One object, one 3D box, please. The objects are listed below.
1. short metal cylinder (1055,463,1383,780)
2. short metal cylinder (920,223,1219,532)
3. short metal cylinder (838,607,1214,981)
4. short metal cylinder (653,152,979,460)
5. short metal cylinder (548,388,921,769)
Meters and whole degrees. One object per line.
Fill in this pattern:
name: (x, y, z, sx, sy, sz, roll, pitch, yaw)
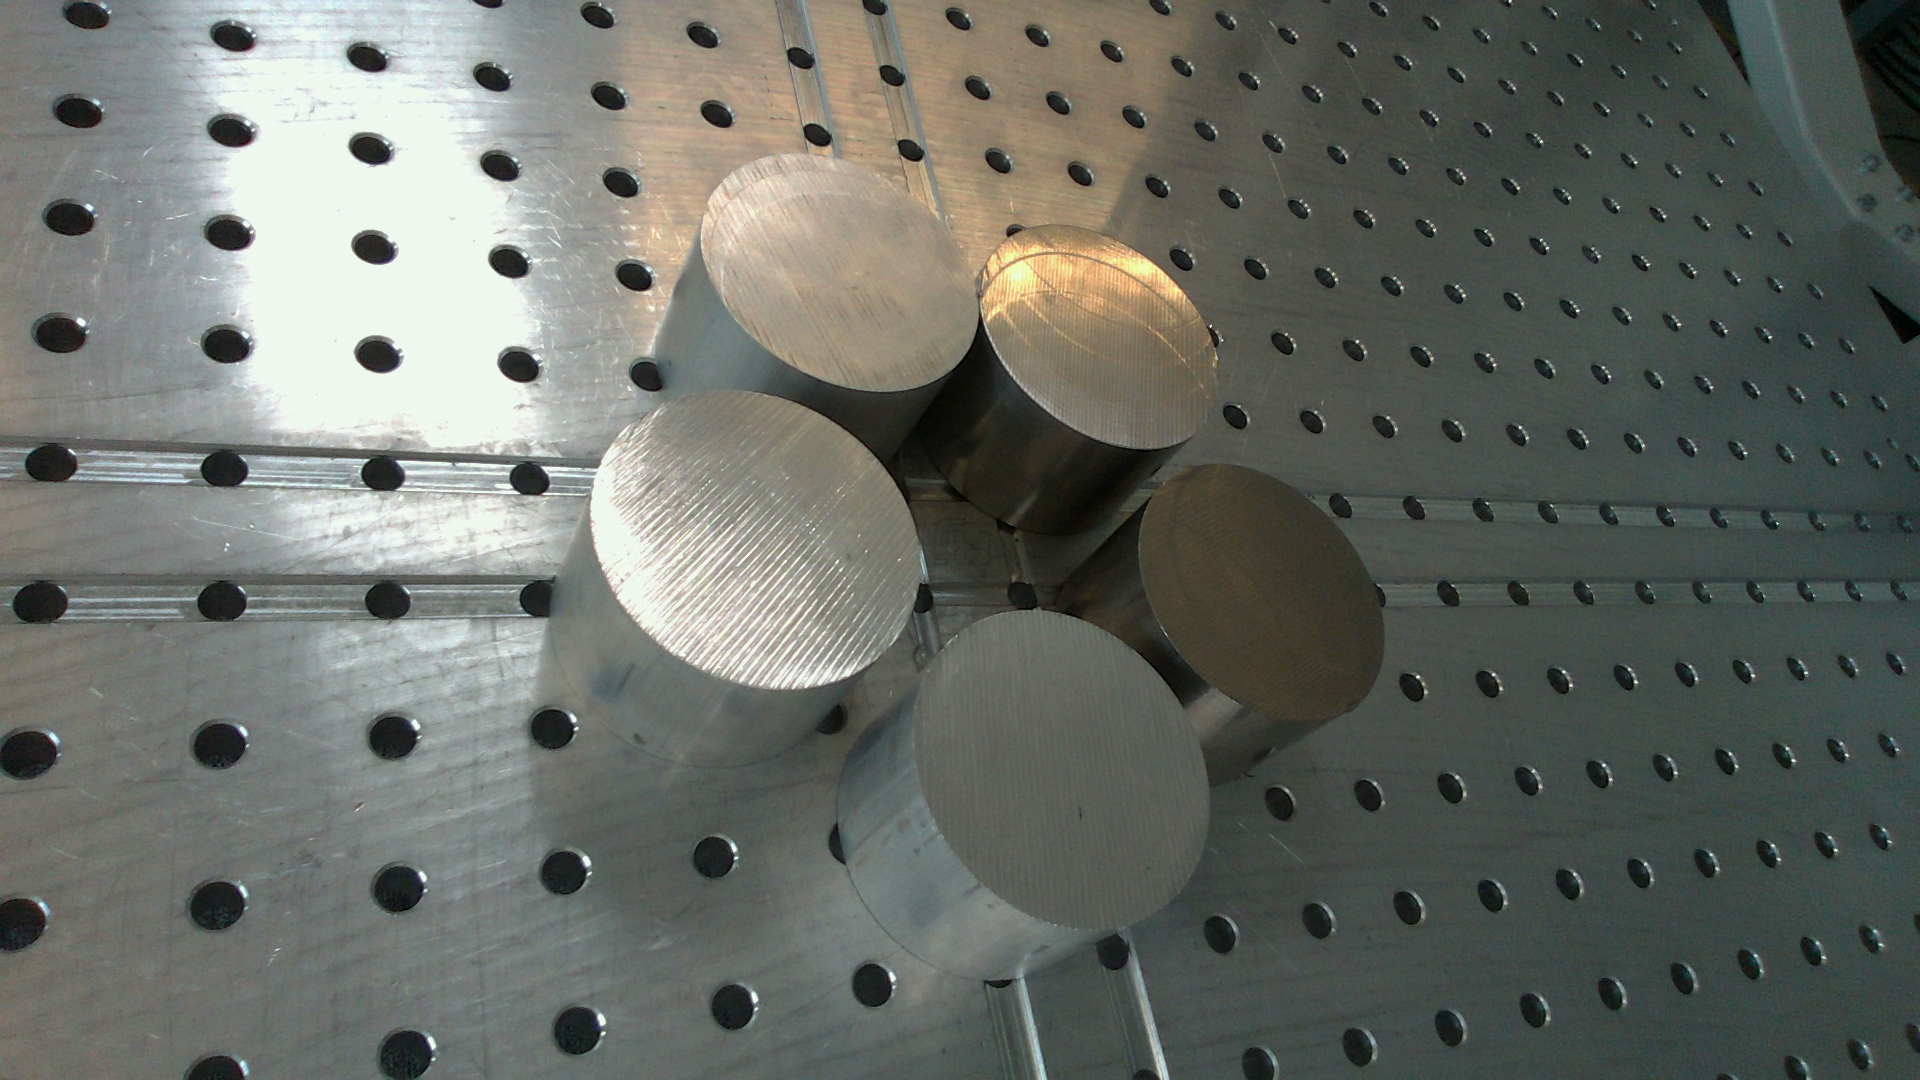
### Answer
short metal cylinder: (0.074, 0.025, 0.401, 0.080, 0.050, 0.080, 13, 57, -21)
short metal cylinder: (0.032, -0.049, 0.423, 0.080, 0.050, 0.080, 13, 56, -21)
short metal cylinder: (0.016, 0.064, 0.345, 0.080, 0.050, 0.080, 13, 56, -20)
short metal cylinder: (-0.041, -0.062, 0.392, 0.080, 0.050, 0.080, 14, 56, -21)
short metal cylinder: (-0.056, 0.010, 0.340, 0.080, 0.050, 0.080, 14, 56, -21)
